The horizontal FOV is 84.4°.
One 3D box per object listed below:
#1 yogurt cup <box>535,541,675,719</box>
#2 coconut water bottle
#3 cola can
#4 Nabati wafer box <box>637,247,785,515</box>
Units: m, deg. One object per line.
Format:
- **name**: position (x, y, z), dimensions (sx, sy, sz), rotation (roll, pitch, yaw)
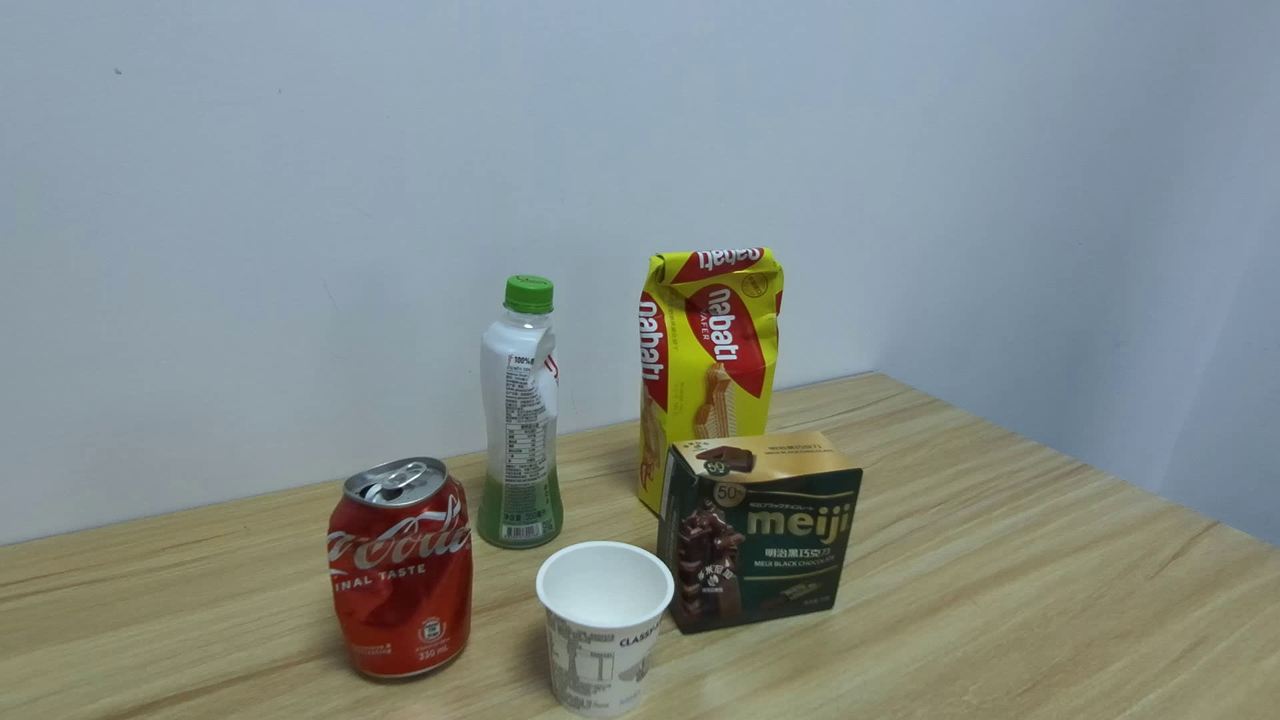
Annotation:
- **yogurt cup**: position (-0.020, 0.146, 0.381), dimensions (0.072, 0.068, 0.072), rotation (4, 20, -1)
- **coconut water bottle**: position (-0.082, 0.035, 0.494), dimensions (0.069, 0.187, 0.069), rotation (4, 18, -1)
- **cola can**: position (-0.127, 0.113, 0.388), dimensions (0.069, 0.112, 0.065), rotation (0, 19, -13)
- **Nabati wafer box**: position (0.052, 0.019, 0.540), dimensions (0.114, 0.205, 0.042), rotation (-7, 21, -27)
